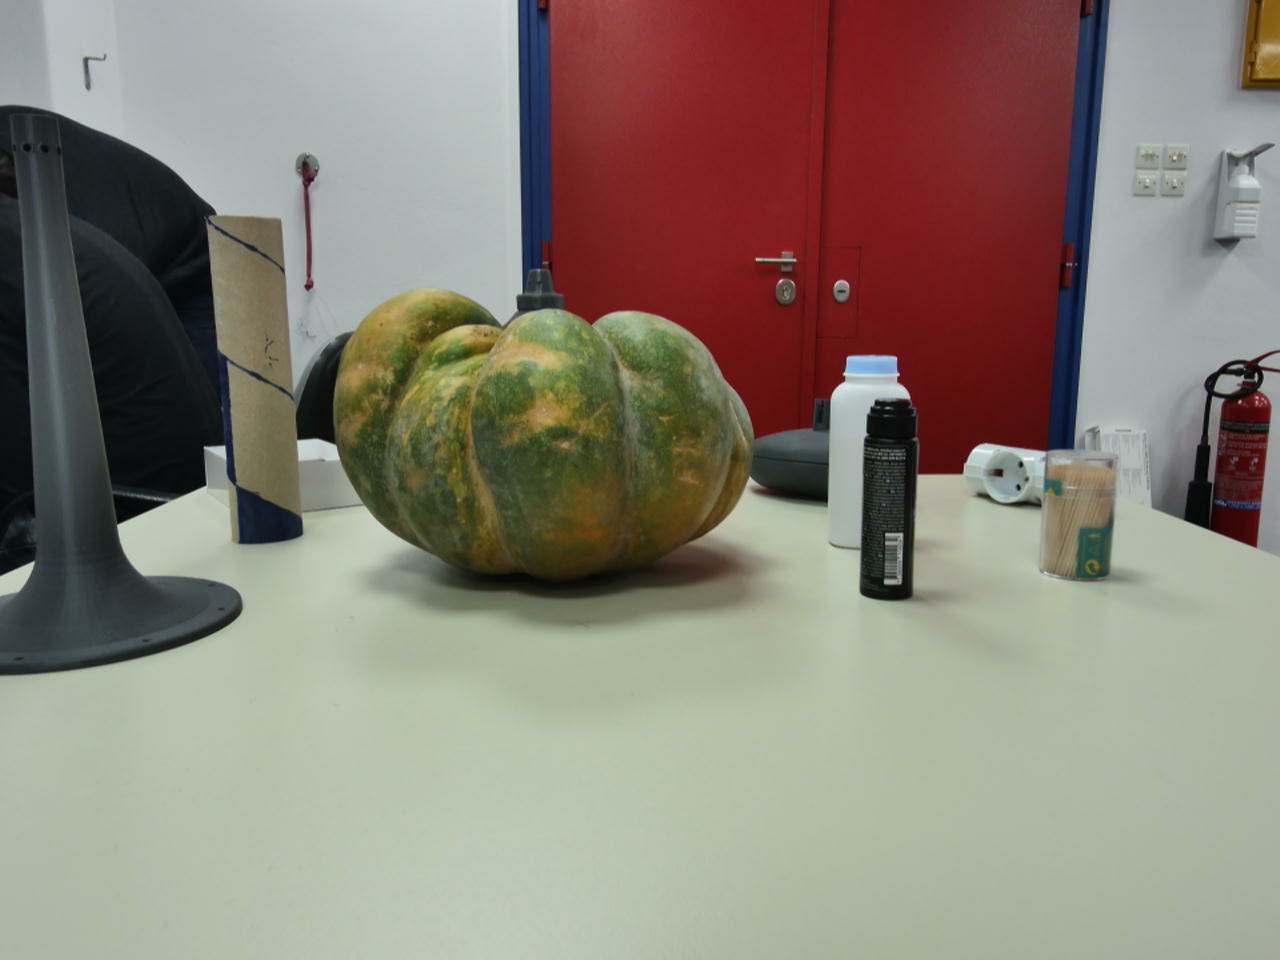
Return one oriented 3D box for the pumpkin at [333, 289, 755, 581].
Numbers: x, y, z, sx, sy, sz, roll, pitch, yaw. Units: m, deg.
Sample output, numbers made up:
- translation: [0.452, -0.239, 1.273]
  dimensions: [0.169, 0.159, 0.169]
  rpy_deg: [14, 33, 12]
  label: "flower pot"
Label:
- translation: [-0.059, -0.031, 0.630]
  dimensions: [0.270, 0.173, 0.237]
  rpy_deg: [6, 10, 36]
  label: "pumpkin"
